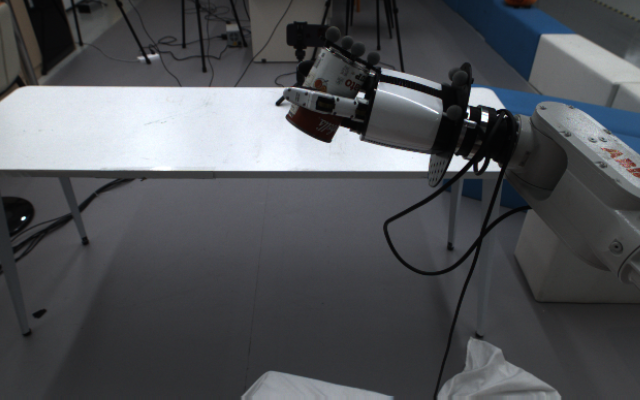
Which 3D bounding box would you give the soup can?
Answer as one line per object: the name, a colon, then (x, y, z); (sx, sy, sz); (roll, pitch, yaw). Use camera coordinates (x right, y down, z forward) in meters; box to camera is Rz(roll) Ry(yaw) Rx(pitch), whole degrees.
soup can: (0.010, -0.133, 0.609); (0.067, 0.101, 0.067); (27, 18, -10)
